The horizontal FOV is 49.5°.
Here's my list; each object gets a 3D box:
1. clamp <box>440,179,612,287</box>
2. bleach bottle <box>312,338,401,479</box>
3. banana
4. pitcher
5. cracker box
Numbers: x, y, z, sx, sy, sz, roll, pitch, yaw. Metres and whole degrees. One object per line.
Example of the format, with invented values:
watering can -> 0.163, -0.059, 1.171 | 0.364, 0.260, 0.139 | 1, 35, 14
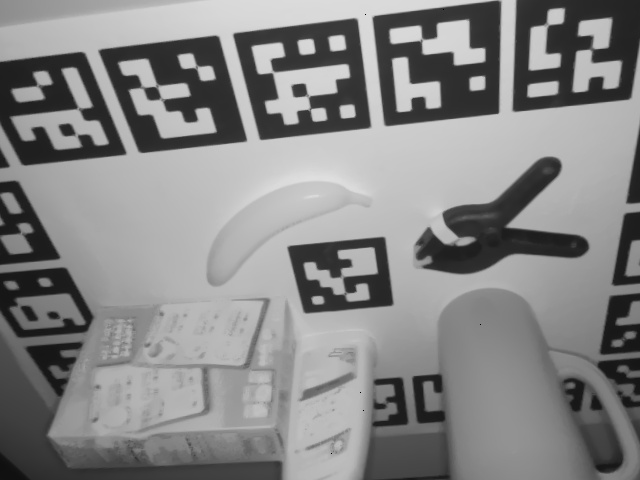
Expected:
clamp -> 0.202, 0.008, 0.702 | 0.164, 0.037, 0.122 | -17, 128, 15
bleach bottle -> 0.043, 0.219, 0.736 | 0.102, 0.253, 0.067 | -4, 129, 4
banana -> -0.020, 0.000, 0.706 | 0.195, 0.039, 0.074 | -33, 122, 23
pitcher -> 0.224, 0.187, 0.686 | 0.187, 0.245, 0.133 | -18, 127, 18
cracker box -> -0.118, 0.155, 0.720 | 0.214, 0.165, 0.071 | -3, 131, 1
